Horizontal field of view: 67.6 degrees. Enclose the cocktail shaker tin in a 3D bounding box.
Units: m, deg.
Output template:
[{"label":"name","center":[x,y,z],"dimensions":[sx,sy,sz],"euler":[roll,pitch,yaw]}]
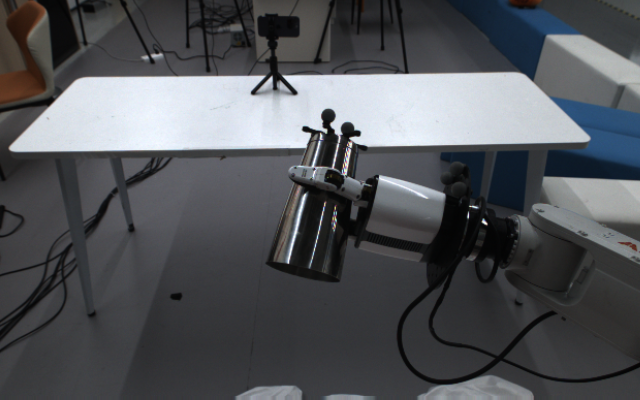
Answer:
[{"label":"cocktail shaker tin","center":[-0.002,0.008,0.599],"dimensions":[0.093,0.093,0.170],"euler":[11,74,12]}]
